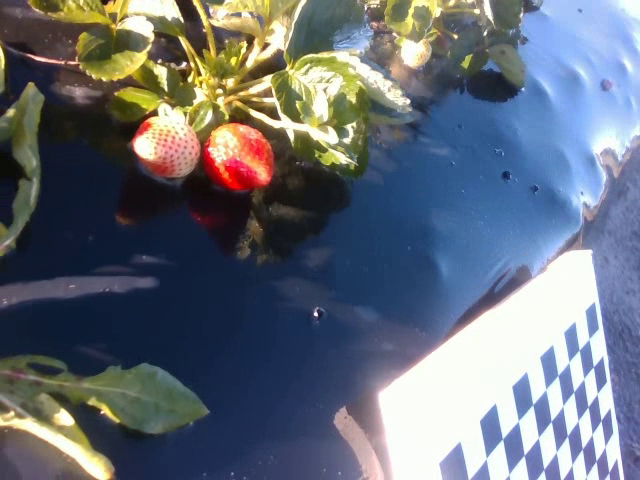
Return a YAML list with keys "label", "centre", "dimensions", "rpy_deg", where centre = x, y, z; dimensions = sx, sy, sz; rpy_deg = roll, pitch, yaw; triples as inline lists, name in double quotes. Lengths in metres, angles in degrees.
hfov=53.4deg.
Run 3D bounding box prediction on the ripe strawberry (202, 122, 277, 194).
- label: "ripe strawberry"
  centre: [-0.034, -0.040, 0.310]
  dimensions: [0.040, 0.037, 0.055]
  rpy_deg: [-32, 24, -16]
